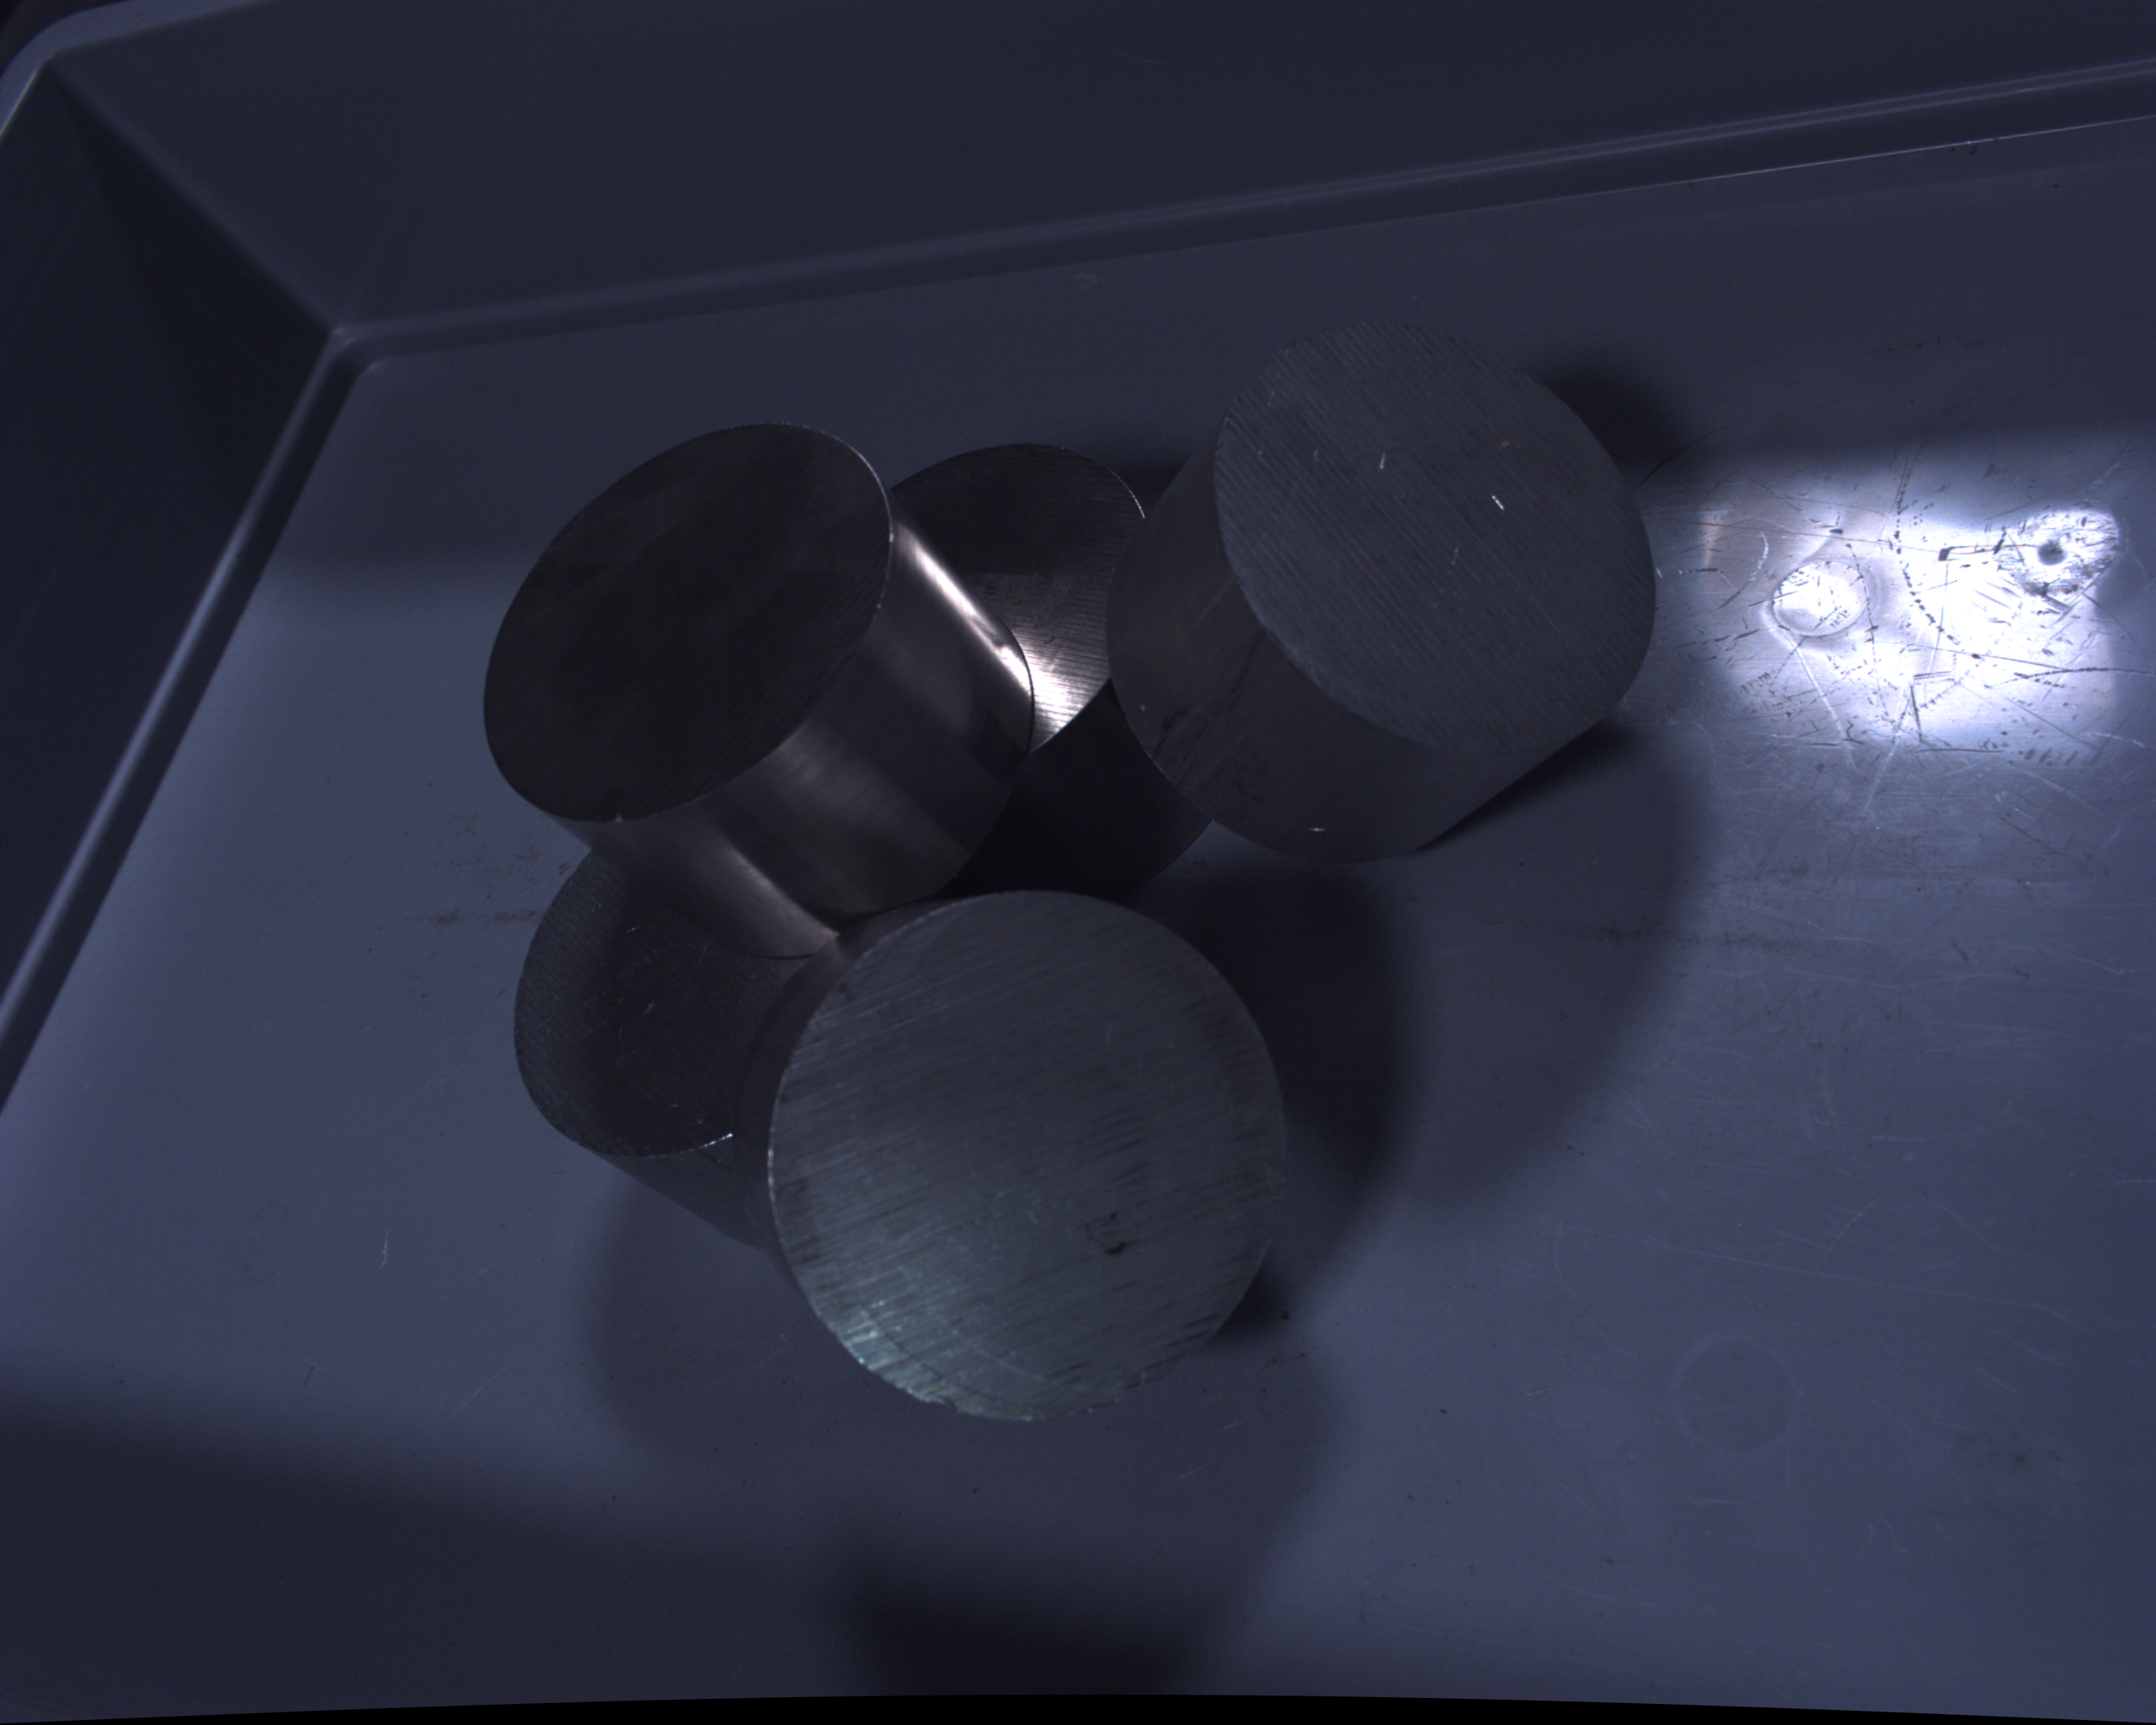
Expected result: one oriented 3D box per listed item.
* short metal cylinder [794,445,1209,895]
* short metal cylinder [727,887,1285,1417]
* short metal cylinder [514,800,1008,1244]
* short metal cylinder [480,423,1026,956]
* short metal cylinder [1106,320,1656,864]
[{"bbox_3d":[-0.013,-0.036,0.414,0.080,0.050,0.080,-13,56,20],"label":"short metal cylinder"},{"bbox_3d":[-0.013,0.044,0.338,0.080,0.080,0.050,-55,12,-11],"label":"short metal cylinder"},{"bbox_3d":[-0.059,0.029,0.400,0.080,0.050,0.080,-13,56,20],"label":"short metal cylinder"},{"bbox_3d":[-0.056,-0.030,0.368,0.080,0.050,0.080,-13,56,20],"label":"short metal cylinder"},{"bbox_3d":[0.051,-0.046,0.361,0.081,0.050,0.080,8,66,-17],"label":"short metal cylinder"}]
